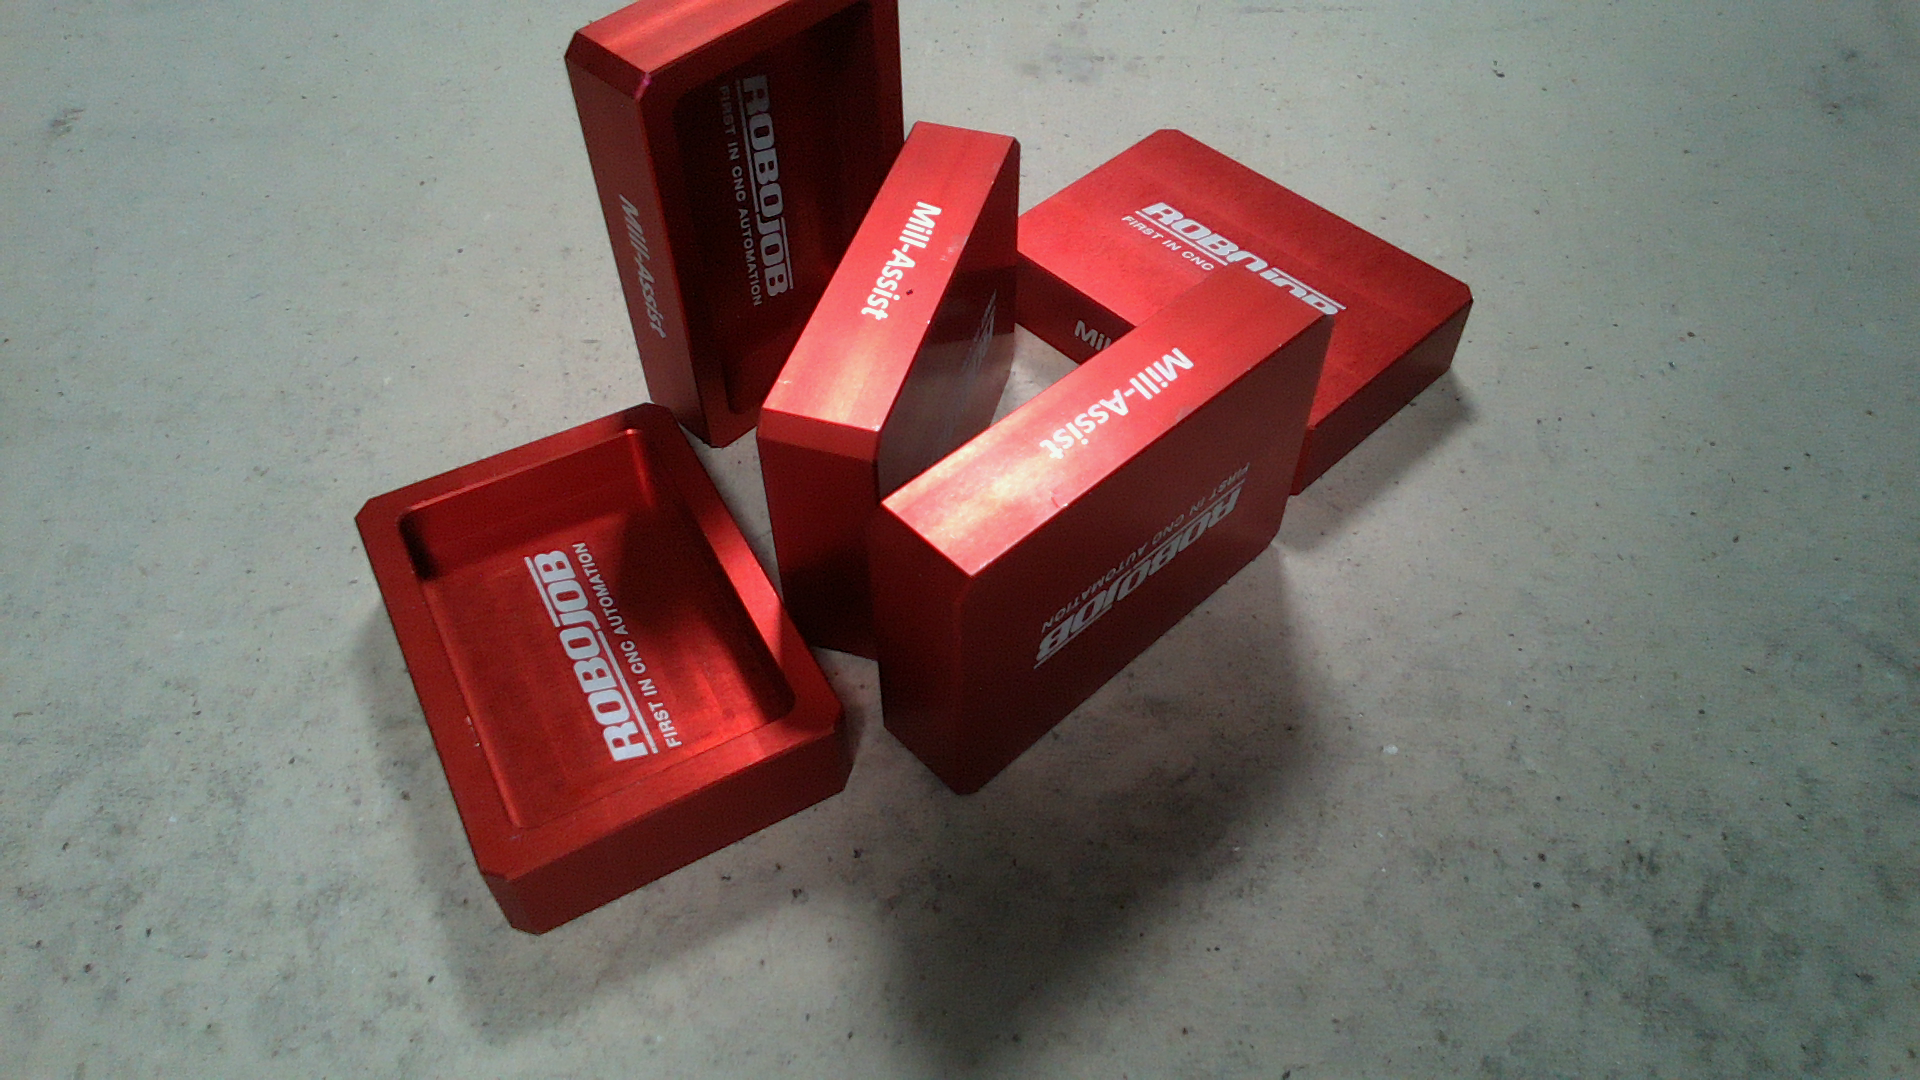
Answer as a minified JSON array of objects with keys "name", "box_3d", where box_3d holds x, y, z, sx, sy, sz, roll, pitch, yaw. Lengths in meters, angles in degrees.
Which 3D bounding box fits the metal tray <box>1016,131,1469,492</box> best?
[{"name":"metal tray","box_3d":[0.087,-0.080,0.456,0.090,0.030,0.130,-37,59,-27]}]

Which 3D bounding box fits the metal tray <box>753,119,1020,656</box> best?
[{"name":"metal tray","box_3d":[-0.015,-0.044,0.386,0.030,0.090,0.130,13,51,11]}]

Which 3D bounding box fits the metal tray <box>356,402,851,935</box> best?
[{"name":"metal tray","box_3d":[-0.097,0.027,0.366,0.090,0.030,0.130,-23,54,-18]}]

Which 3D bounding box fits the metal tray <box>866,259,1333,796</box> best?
[{"name":"metal tray","box_3d":[0.037,-0.003,0.352,0.130,0.090,0.030,-36,58,-26]}]

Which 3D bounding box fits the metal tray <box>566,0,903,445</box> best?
[{"name":"metal tray","box_3d":[-0.058,-0.101,0.408,0.030,0.130,0.090,36,58,26]}]
